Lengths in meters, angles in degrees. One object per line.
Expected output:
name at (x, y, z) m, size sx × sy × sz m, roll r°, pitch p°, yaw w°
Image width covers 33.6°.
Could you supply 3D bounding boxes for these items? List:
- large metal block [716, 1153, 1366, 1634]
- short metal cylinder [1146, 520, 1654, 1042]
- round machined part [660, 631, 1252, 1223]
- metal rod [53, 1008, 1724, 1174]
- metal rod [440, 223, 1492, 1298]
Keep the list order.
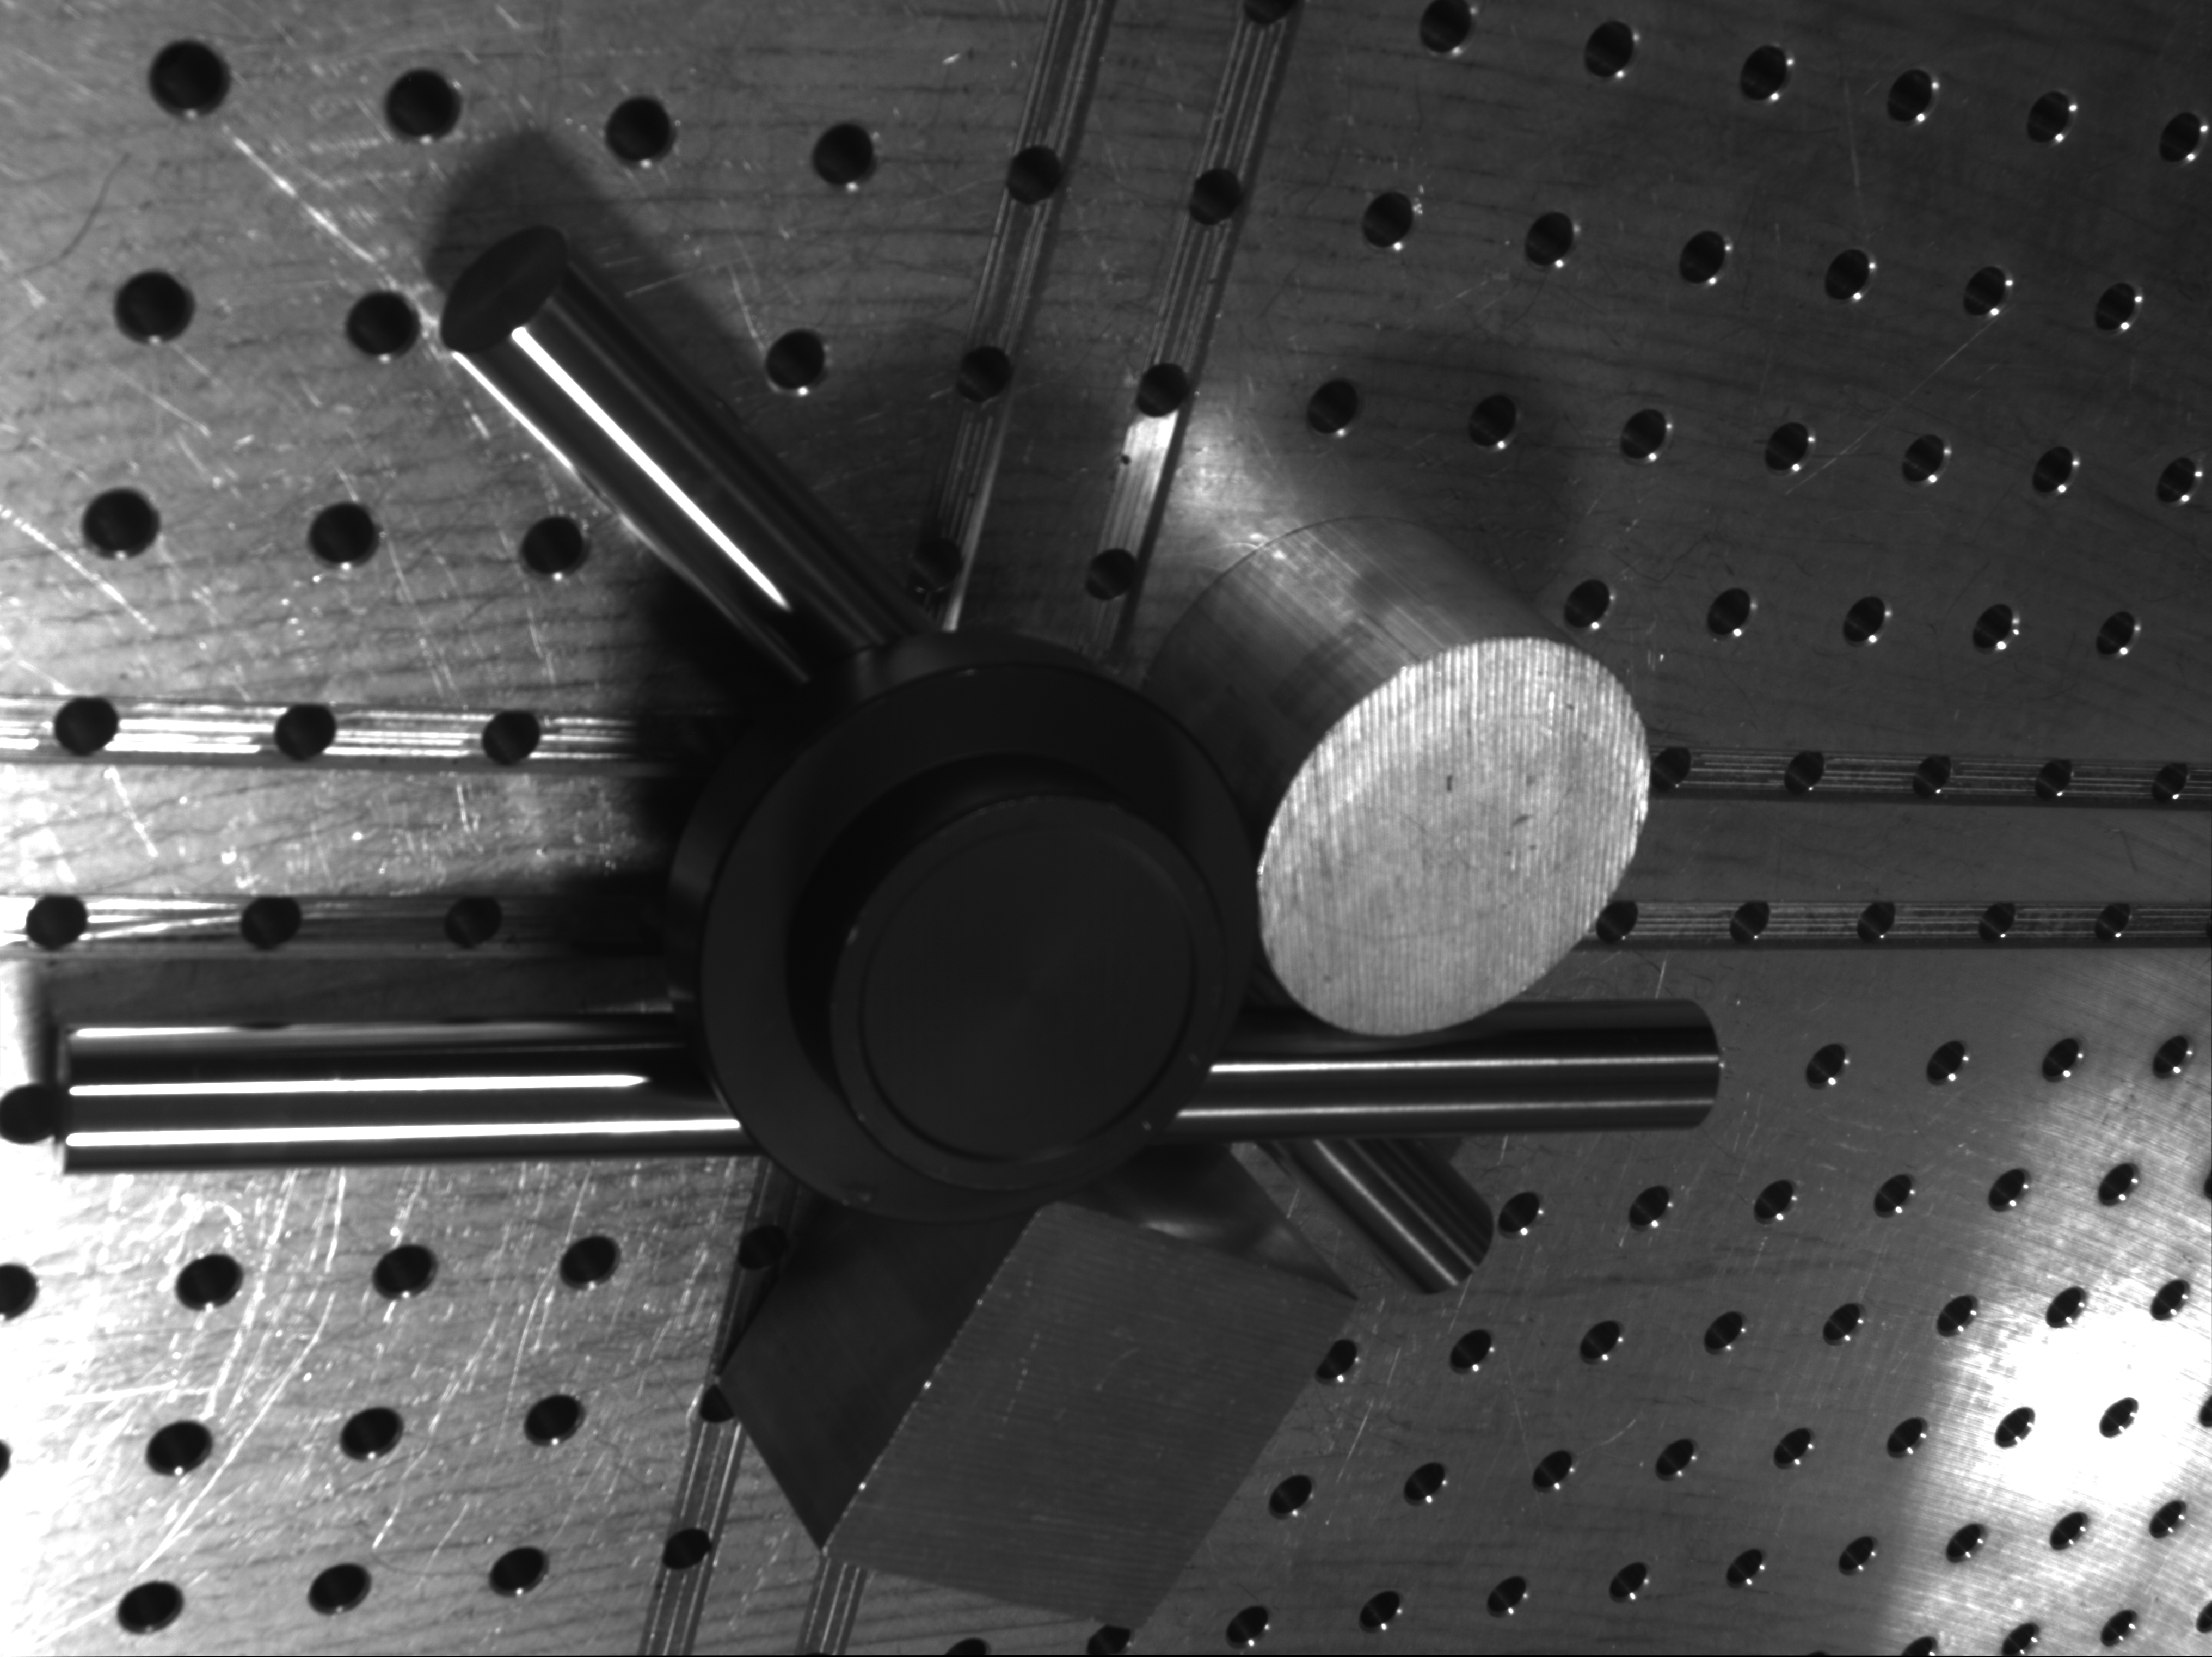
large metal block at (-0.013, 0.097, 0.688) m, size 0.080 × 0.050 × 0.080 m, roll 23°, pitch 105°, yaw -38°
short metal cylinder at (0.051, -0.009, 0.661) m, size 0.080 × 0.050 × 0.080 m, roll -15°, pitch 125°, yaw -22°
round machined part at (-0.020, 0.020, 0.600) m, size 0.098 × 0.042 × 0.098 m, roll -9°, pitch 113°, yaw -21°
metal rod at (-0.028, 0.045, 0.641) m, size 0.301 × 0.025 × 0.025 m, roll 1°, pitch 118°, yaw -22°
metal rod at (-0.011, 0.001, 0.648) m, size 0.025 × 0.025 × 0.301 m, roll -43°, pitch 130°, yaw 0°
